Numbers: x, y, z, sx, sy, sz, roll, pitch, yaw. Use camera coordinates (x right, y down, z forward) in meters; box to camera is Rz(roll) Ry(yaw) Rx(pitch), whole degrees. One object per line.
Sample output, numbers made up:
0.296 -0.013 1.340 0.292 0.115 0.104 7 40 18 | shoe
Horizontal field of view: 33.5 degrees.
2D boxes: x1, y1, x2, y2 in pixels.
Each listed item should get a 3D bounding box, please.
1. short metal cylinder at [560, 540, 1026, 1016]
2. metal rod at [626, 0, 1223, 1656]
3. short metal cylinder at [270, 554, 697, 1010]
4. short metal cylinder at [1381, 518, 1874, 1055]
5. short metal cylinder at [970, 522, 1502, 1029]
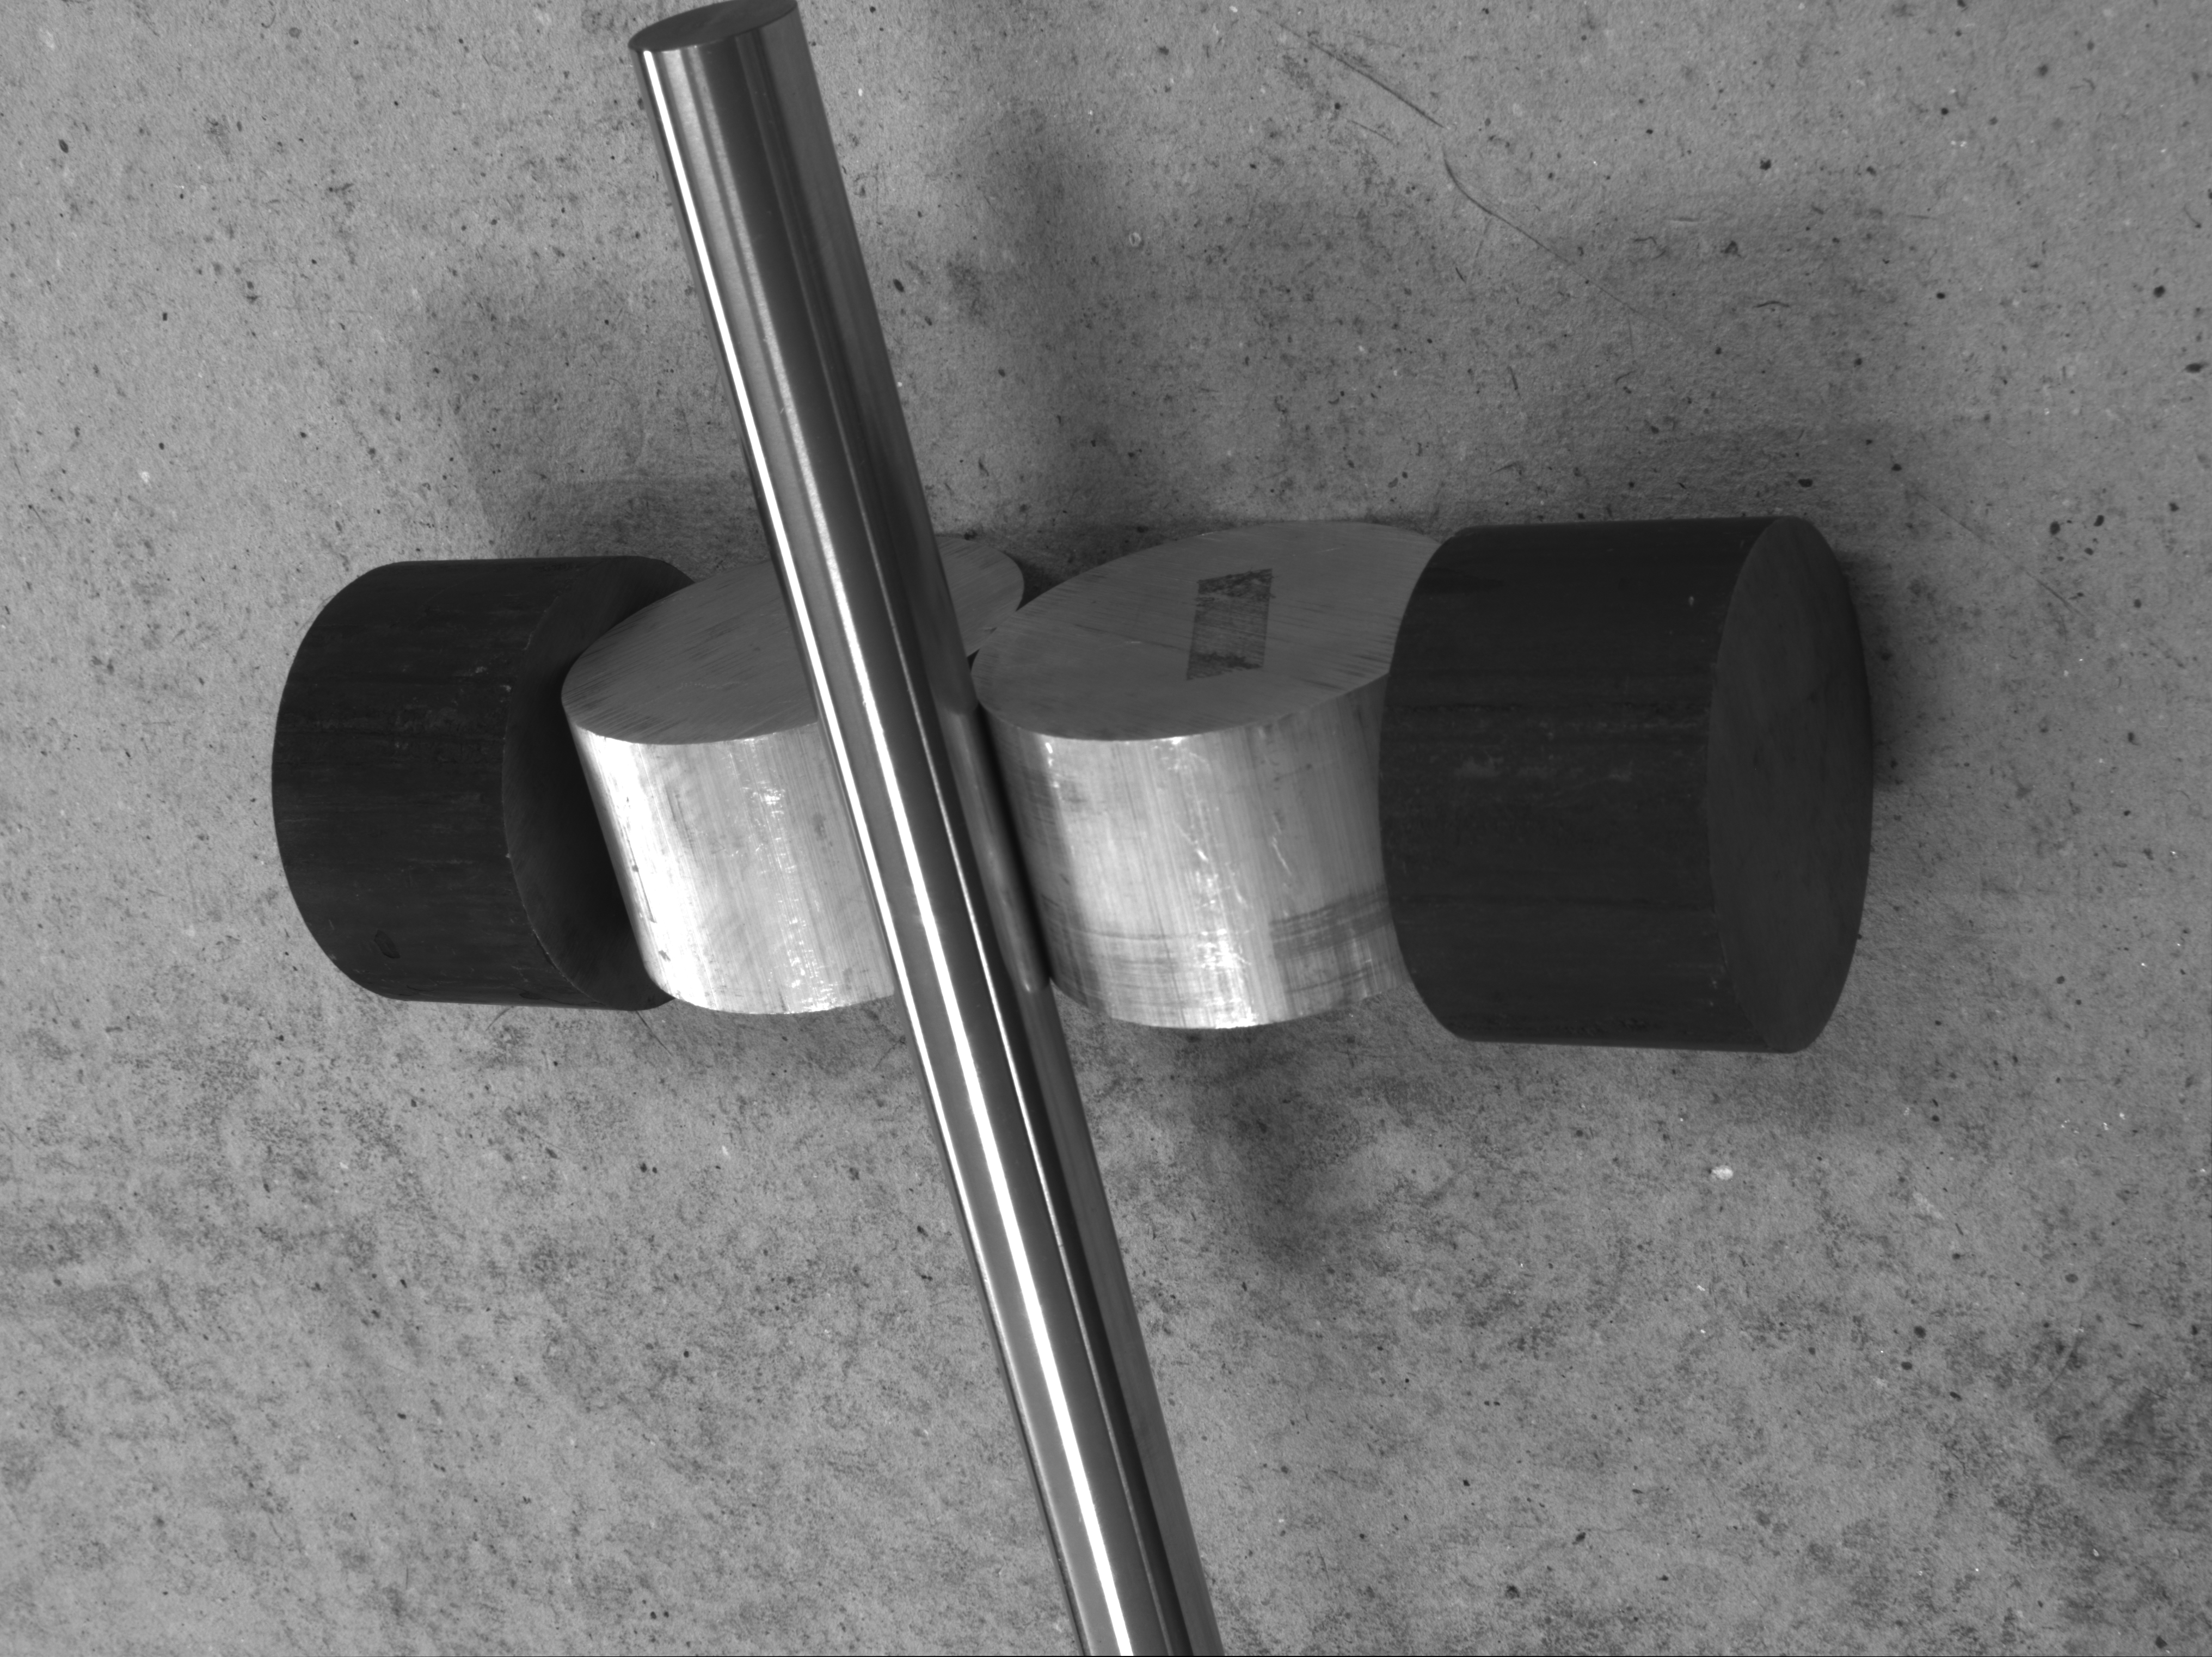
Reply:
-0.047 -0.010 0.627 0.080 0.080 0.050 1 119 28 | short metal cylinder
-0.024 0.017 0.587 0.025 0.025 0.300 1 119 28 | metal rod
-0.104 -0.008 0.658 0.050 0.080 0.080 1 119 28 | short metal cylinder
0.081 -0.007 0.560 0.050 0.080 0.080 1 119 28 | short metal cylinder
0.022 -0.010 0.589 0.080 0.080 0.050 1 119 28 | short metal cylinder
